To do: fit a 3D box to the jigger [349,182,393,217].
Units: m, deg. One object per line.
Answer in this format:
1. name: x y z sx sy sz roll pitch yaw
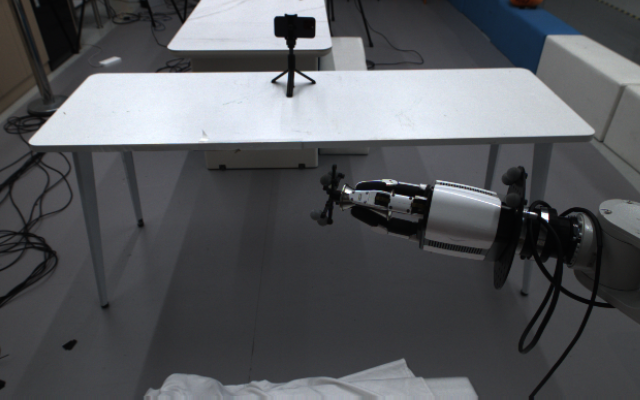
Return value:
1. jigger: 0.071 -0.002 0.665 0.071 0.043 0.043 10 35 16
